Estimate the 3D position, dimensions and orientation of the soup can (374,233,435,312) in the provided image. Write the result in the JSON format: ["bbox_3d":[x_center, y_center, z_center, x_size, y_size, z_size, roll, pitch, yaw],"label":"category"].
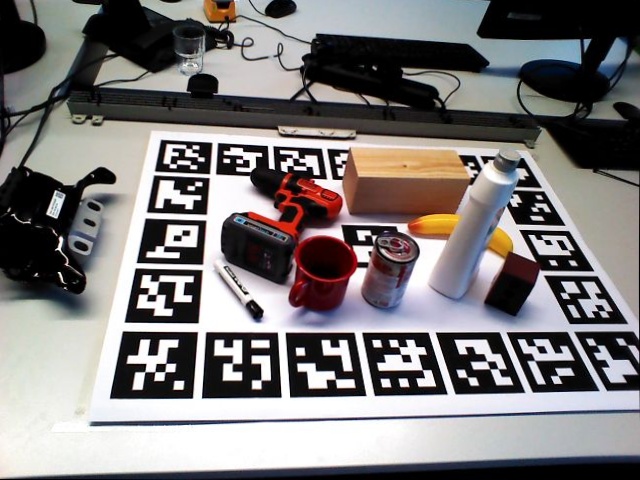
[{"bbox_3d":[0.123,0.049,0.763,0.068,0.102,0.067,6,40,-6],"label":"soup can"}]

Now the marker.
[{"bbox_3d":[-0.105,0.081,0.761,0.019,0.020,0.121,-23,53,-27],"label":"marker"}]

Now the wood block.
[{"bbox_3d":[0.181,-0.095,0.940,0.206,0.091,0.089,1,46,-9],"label":"wood block"}]

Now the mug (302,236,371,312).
[{"bbox_3d":[0.014,0.059,0.755,0.093,0.082,0.116,35,52,21],"label":"mug"}]

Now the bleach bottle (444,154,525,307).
[{"bbox_3d":[0.253,-0.017,0.755,0.068,0.252,0.102,22,44,13],"label":"bleach bottle"}]

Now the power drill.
[{"bbox_3d":[-0.047,-0.032,0.864,0.185,0.058,0.185,24,44,10],"label":"power drill"}]

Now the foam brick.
[{"bbox_3d":[0.323,0.081,0.794,0.053,0.078,0.051,25,44,18],"label":"foam brick"}]

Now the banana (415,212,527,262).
[{"bbox_3d":[0.265,-0.014,0.904,0.198,0.039,0.074,14,58,2],"label":"banana"}]
